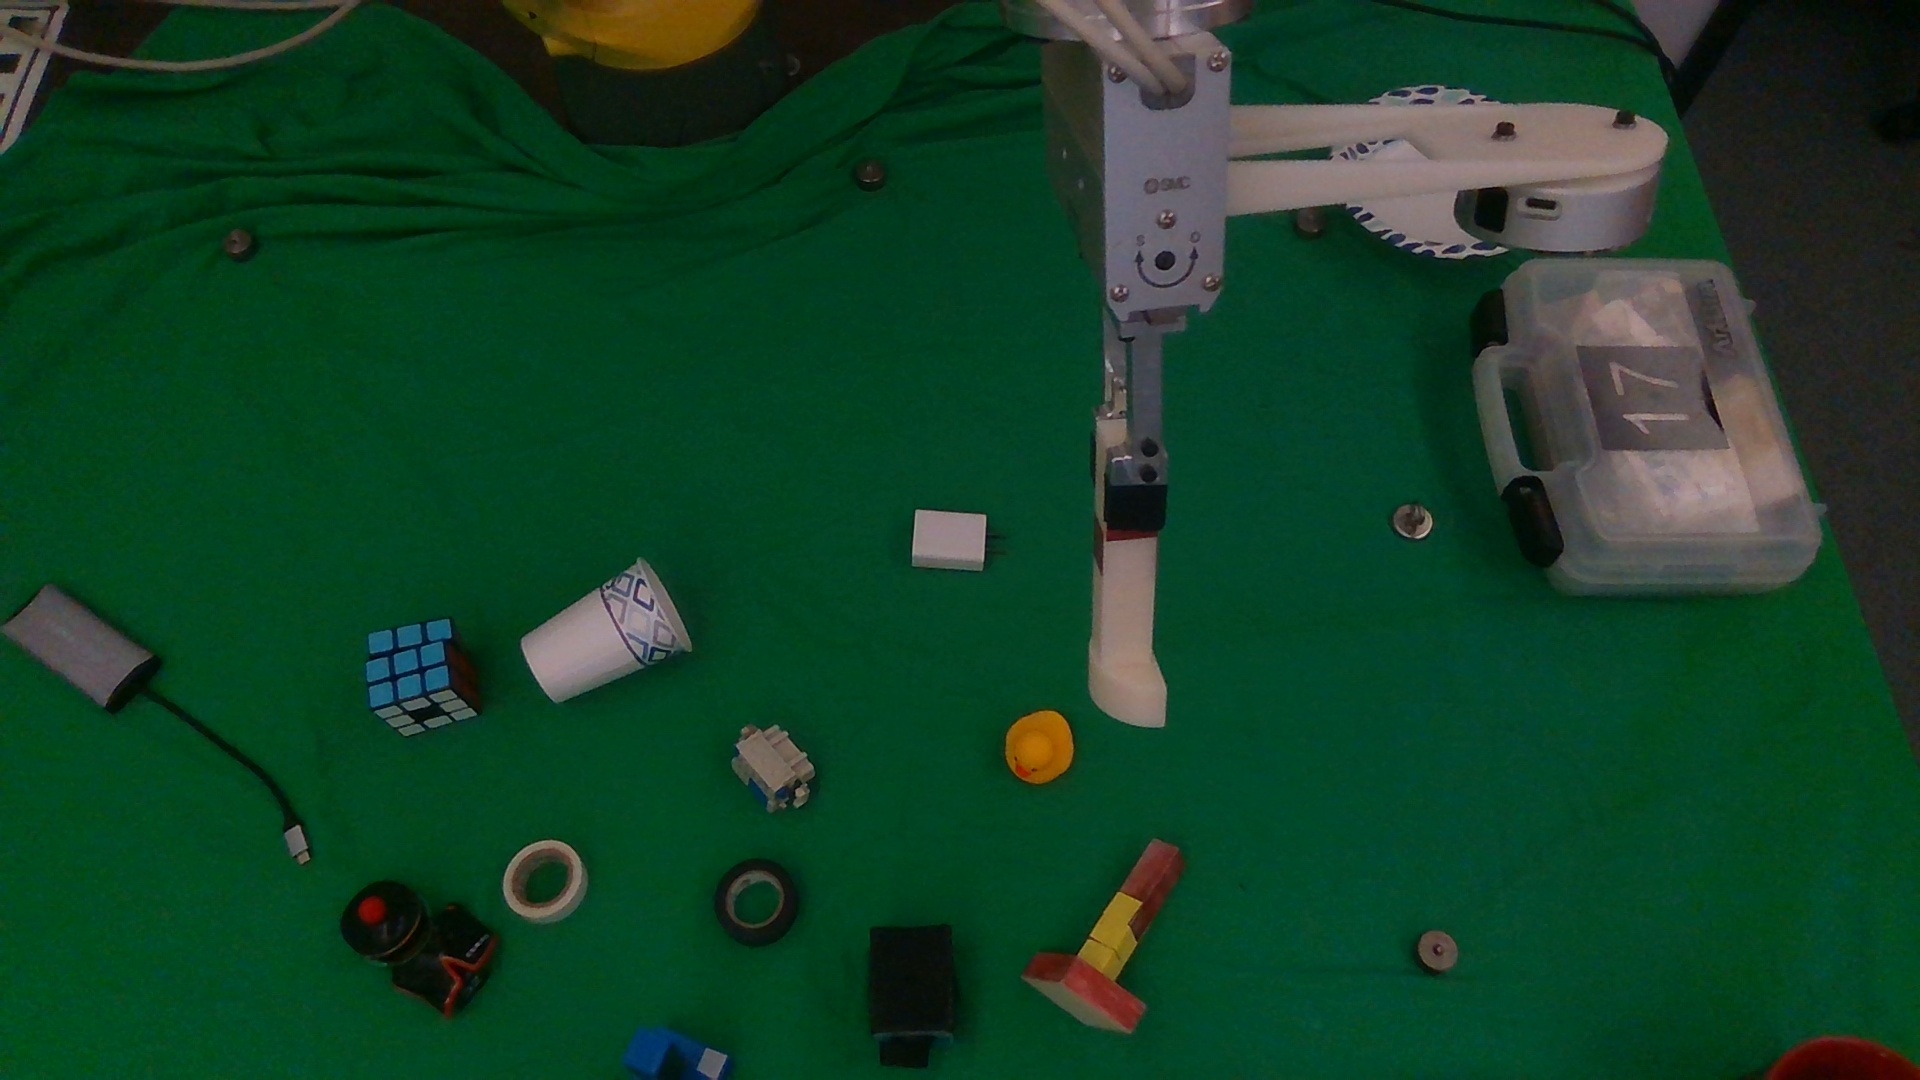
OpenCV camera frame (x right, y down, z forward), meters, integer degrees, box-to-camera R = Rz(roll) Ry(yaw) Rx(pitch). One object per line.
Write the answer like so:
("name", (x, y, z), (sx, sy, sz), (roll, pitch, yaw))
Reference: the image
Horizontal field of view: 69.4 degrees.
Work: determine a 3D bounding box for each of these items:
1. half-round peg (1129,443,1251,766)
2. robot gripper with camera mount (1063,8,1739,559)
("half-round peg", (0.082, 0.021, 0.496), (0.031, 0.122, 0.054), (-8, 34, -15))
("robot gripper with camera mount", (0.139, -0.083, 0.446), (0.193, 0.158, 0.119), (-6, 32, -4))
